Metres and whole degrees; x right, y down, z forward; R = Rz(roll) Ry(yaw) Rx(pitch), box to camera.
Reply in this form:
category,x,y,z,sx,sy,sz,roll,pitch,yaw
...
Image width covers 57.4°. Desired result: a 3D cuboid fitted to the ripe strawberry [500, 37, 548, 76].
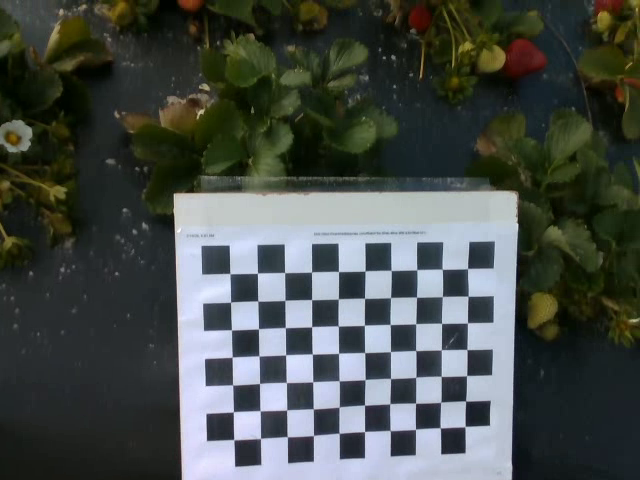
category,x,y,z,sx,sy,sz,roll,pitch,yaw
ripe strawberry,0.263,-0.227,0.741,0.048,0.051,0.055,28,7,-46
